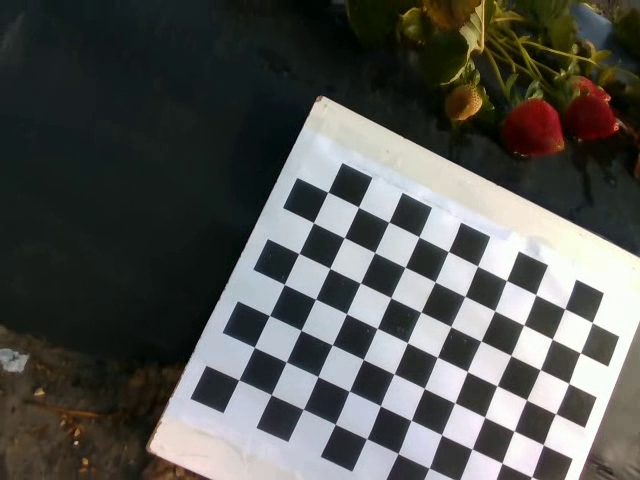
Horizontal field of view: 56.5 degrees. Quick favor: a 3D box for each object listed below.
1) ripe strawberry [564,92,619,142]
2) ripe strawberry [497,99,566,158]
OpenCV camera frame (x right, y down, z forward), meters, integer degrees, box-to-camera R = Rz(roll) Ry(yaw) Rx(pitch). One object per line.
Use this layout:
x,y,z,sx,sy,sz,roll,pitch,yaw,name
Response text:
0.244,-0.106,0.533,0.044,0.042,0.055,-38,40,-9,ripe strawberry
0.178,-0.090,0.481,0.050,0.050,0.065,-14,32,-8,ripe strawberry
